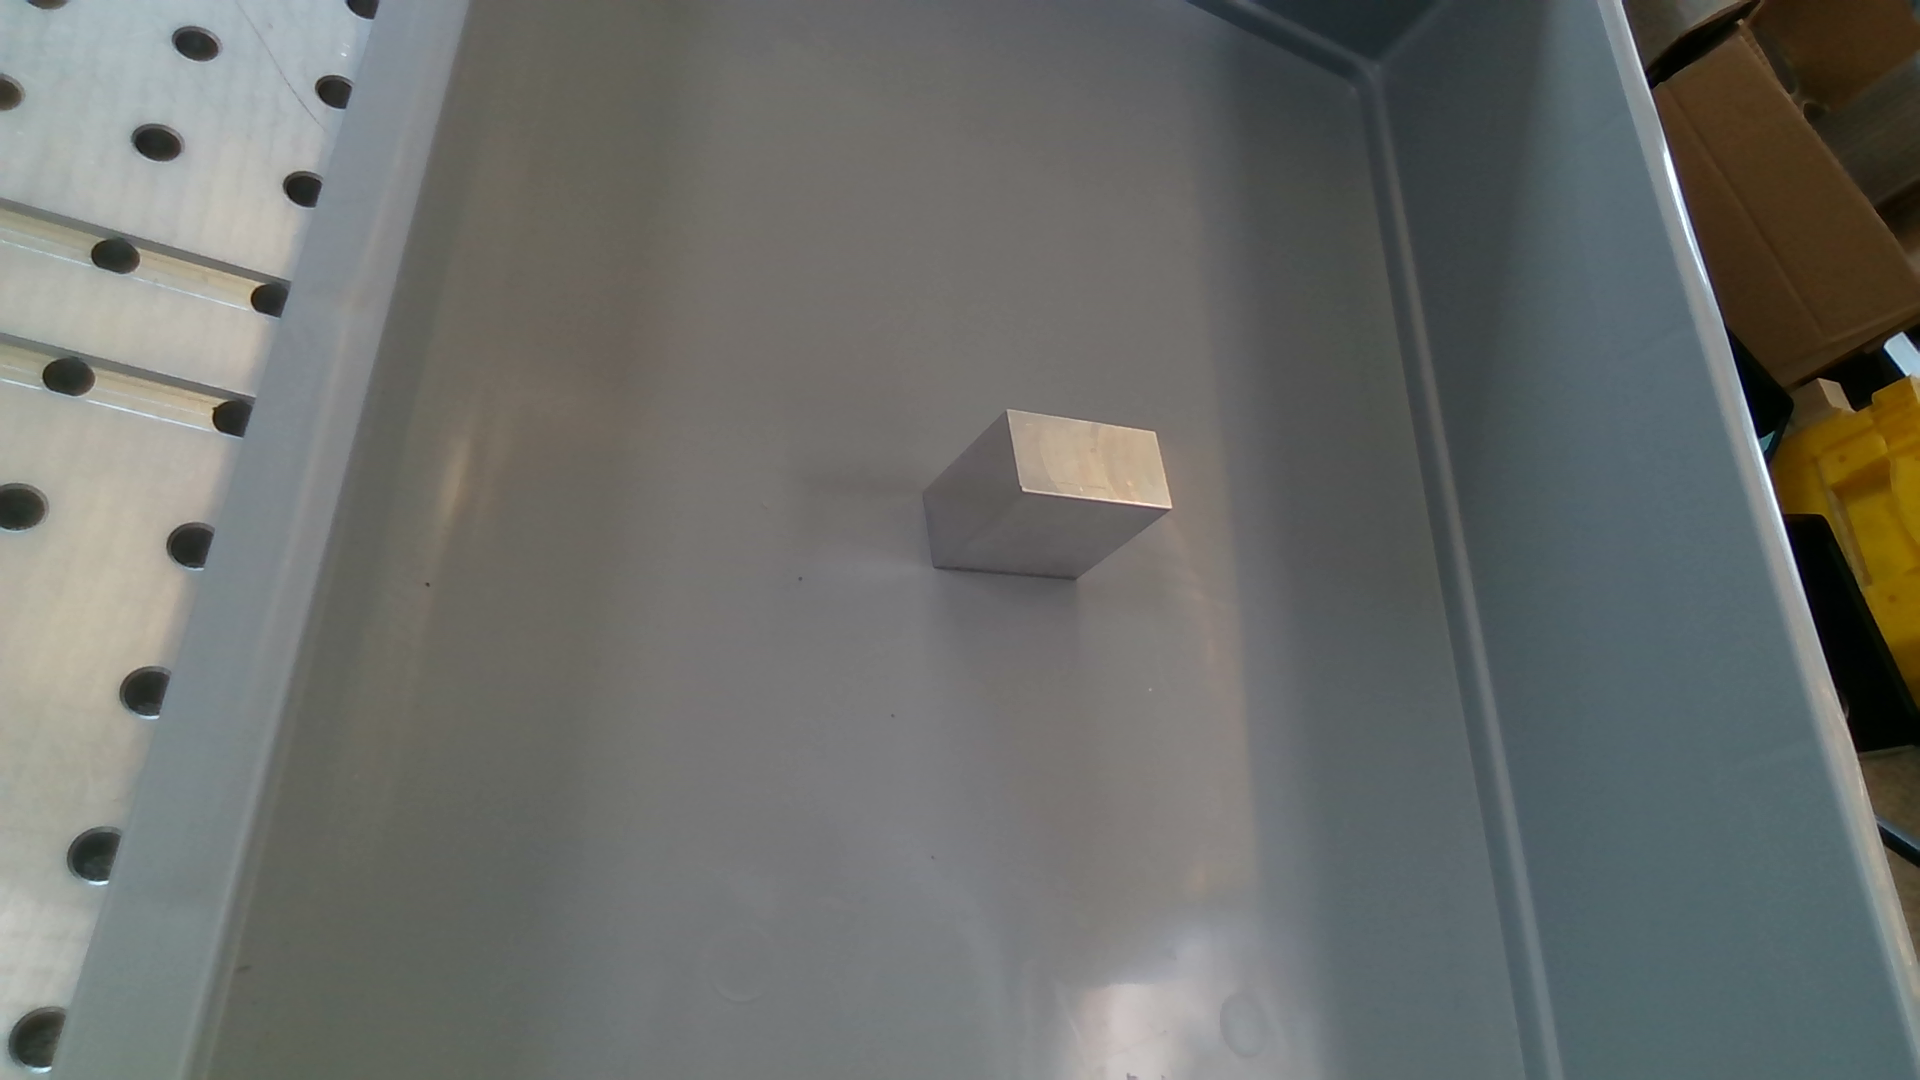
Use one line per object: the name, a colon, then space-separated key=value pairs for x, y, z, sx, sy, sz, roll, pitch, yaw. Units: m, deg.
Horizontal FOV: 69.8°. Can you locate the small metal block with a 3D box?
small metal block: x=0.024 y=-0.012 z=0.394 sx=0.050 sy=0.050 sz=0.025 roll=6 pitch=62 yaw=-30
